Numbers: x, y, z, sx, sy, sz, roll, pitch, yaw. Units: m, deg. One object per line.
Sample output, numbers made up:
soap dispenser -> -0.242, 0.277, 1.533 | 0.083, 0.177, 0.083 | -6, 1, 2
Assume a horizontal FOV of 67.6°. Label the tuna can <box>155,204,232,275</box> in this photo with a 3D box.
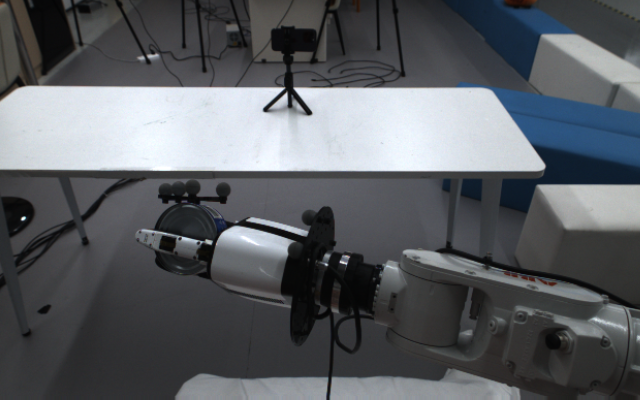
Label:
tuna can -> -0.152, 0.047, 0.580 | 0.085, 0.085, 0.034 | 15, 1, 18
